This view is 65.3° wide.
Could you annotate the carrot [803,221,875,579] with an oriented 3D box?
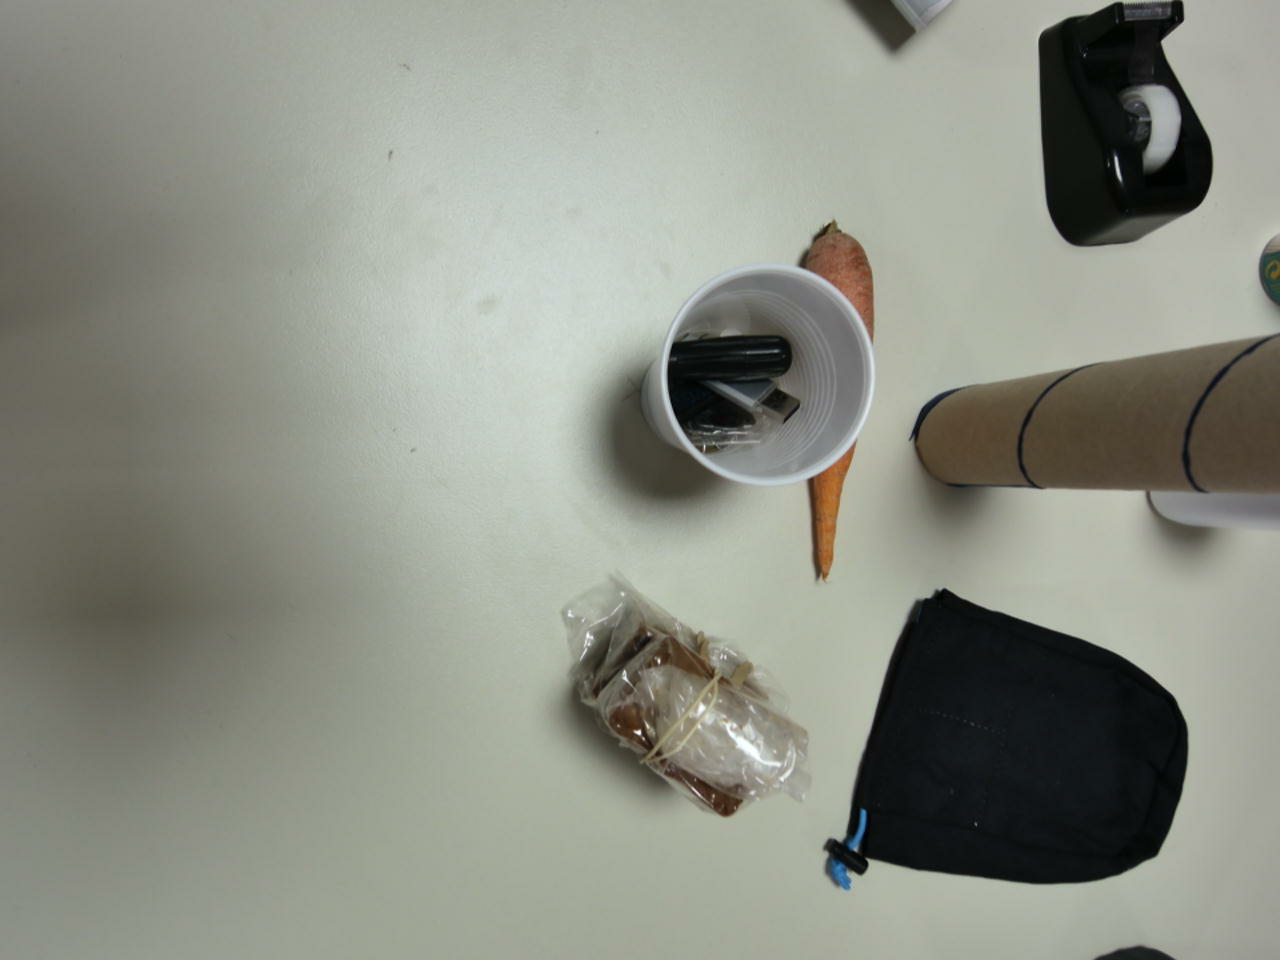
[{"bbox_3d":[0.092,-0.037,0.461,0.031,0.029,0.163,0,91,-12],"label":"carrot"}]
